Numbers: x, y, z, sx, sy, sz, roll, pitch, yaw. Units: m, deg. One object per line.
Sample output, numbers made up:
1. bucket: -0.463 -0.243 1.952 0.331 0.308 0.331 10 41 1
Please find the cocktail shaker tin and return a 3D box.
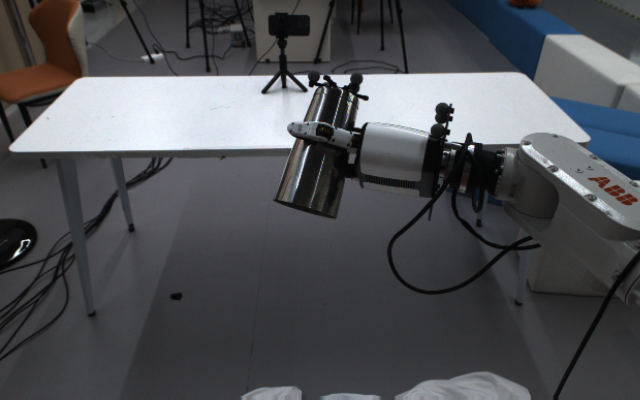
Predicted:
1. cocktail shaker tin: 0.000 -0.069 0.681 0.093 0.170 0.093 16 -7 2
